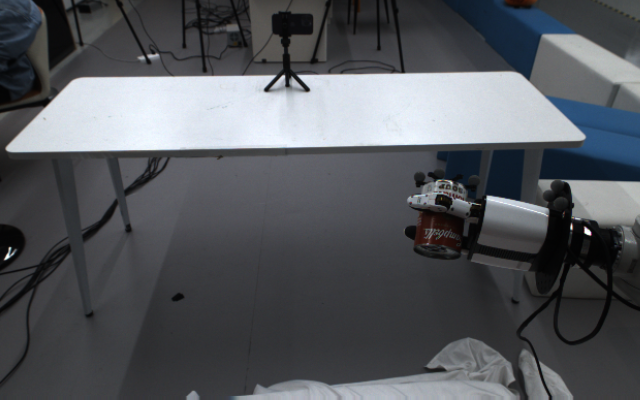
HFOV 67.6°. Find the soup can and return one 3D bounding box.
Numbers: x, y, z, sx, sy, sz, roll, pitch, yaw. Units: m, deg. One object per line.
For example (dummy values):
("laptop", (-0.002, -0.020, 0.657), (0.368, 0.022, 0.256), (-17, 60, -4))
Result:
("soup can", (0.177, 0.028, 0.705), (0.067, 0.067, 0.101), (9, 70, 10))
